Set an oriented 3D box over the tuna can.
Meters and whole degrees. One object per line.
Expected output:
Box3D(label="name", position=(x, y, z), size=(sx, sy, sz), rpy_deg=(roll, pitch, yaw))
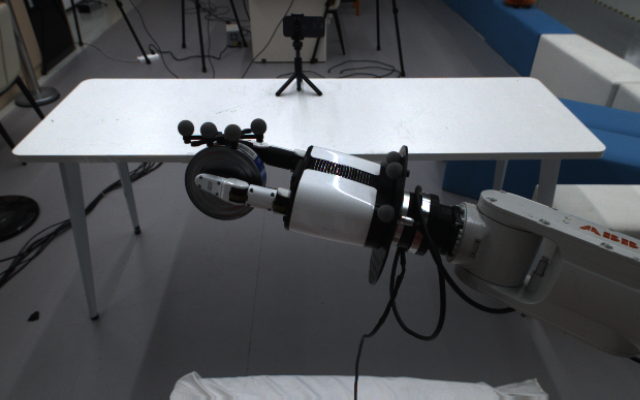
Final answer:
Box3D(label="tuna can", position=(-0.101, -0.018, 0.538), size=(0.085, 0.085, 0.034), rpy_deg=(4, 18, 3))
